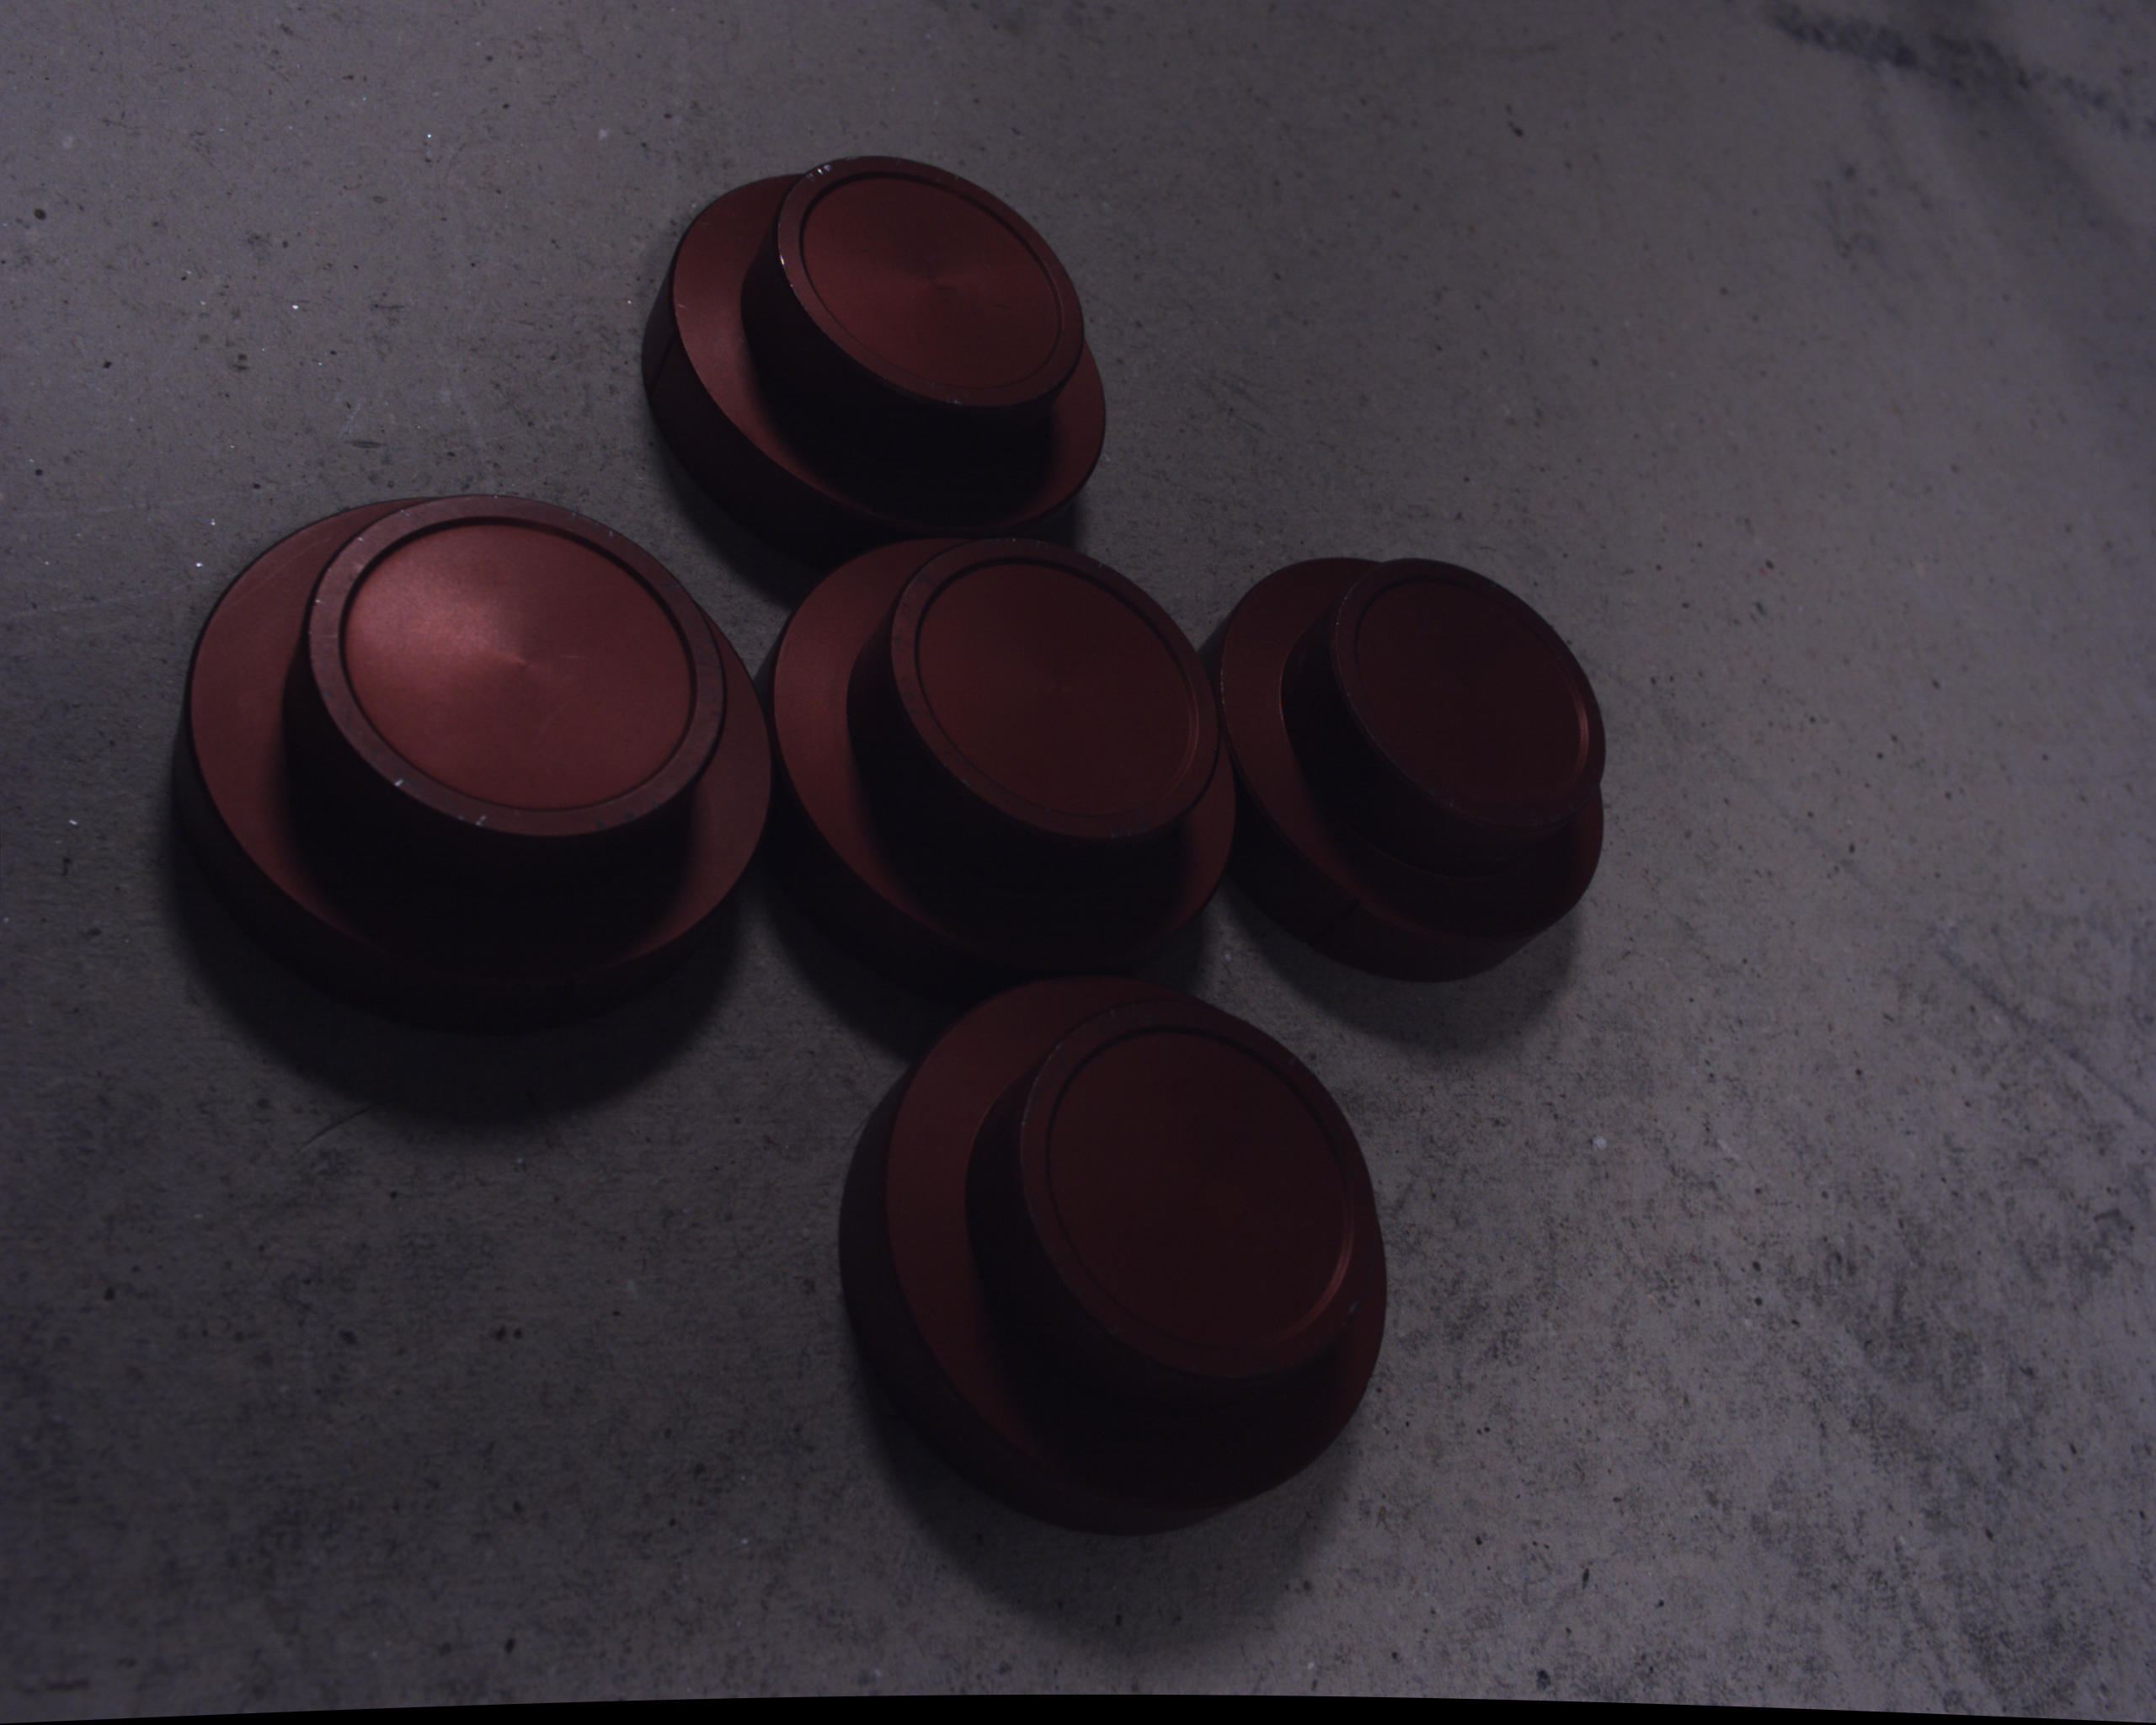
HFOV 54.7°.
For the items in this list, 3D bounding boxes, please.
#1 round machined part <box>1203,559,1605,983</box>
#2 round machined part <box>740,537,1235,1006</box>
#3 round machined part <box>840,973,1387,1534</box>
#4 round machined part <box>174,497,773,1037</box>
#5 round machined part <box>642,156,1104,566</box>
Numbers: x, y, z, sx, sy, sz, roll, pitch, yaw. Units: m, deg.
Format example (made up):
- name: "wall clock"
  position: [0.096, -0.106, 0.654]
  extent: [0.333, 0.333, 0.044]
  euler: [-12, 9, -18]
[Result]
- name: "round machined part"
  position: [0.074, -0.026, 0.452]
  extent: [0.099, 0.042, 0.098]
  euler: [14, 56, -21]
- name: "round machined part"
  position: [-0.013, -0.023, 0.403]
  extent: [0.099, 0.042, 0.098]
  euler: [14, 56, -21]
- name: "round machined part"
  position: [0.012, 0.063, 0.363]
  extent: [0.099, 0.042, 0.098]
  euler: [14, 56, -21]
- name: "round machined part"
  position: [-0.099, -0.023, 0.356]
  extent: [0.099, 0.042, 0.098]
  euler: [14, 56, -21]
- name: "round machined part"
  position: [-0.039, -0.110, 0.442]
  extent: [0.099, 0.042, 0.098]
  euler: [14, 56, -21]
